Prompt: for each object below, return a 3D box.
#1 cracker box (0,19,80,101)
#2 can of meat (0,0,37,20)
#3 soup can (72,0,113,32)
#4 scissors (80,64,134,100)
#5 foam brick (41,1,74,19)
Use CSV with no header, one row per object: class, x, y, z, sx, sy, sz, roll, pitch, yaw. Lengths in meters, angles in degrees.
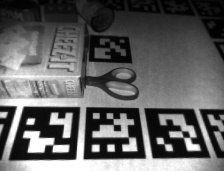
cracker box,-0.173,-0.057,0.420,0.214,0.072,0.163,-4,53,-5
can of meat,-0.228,-0.166,0.503,0.102,0.084,0.058,13,53,3
soup can,-0.054,-0.197,0.571,0.068,0.068,0.101,-31,57,-26
scissors,-0.060,-0.006,0.436,0.203,0.016,0.087,-2,54,-8
foam brick,-0.135,-0.177,0.548,0.078,0.051,0.052,-7,55,-12
